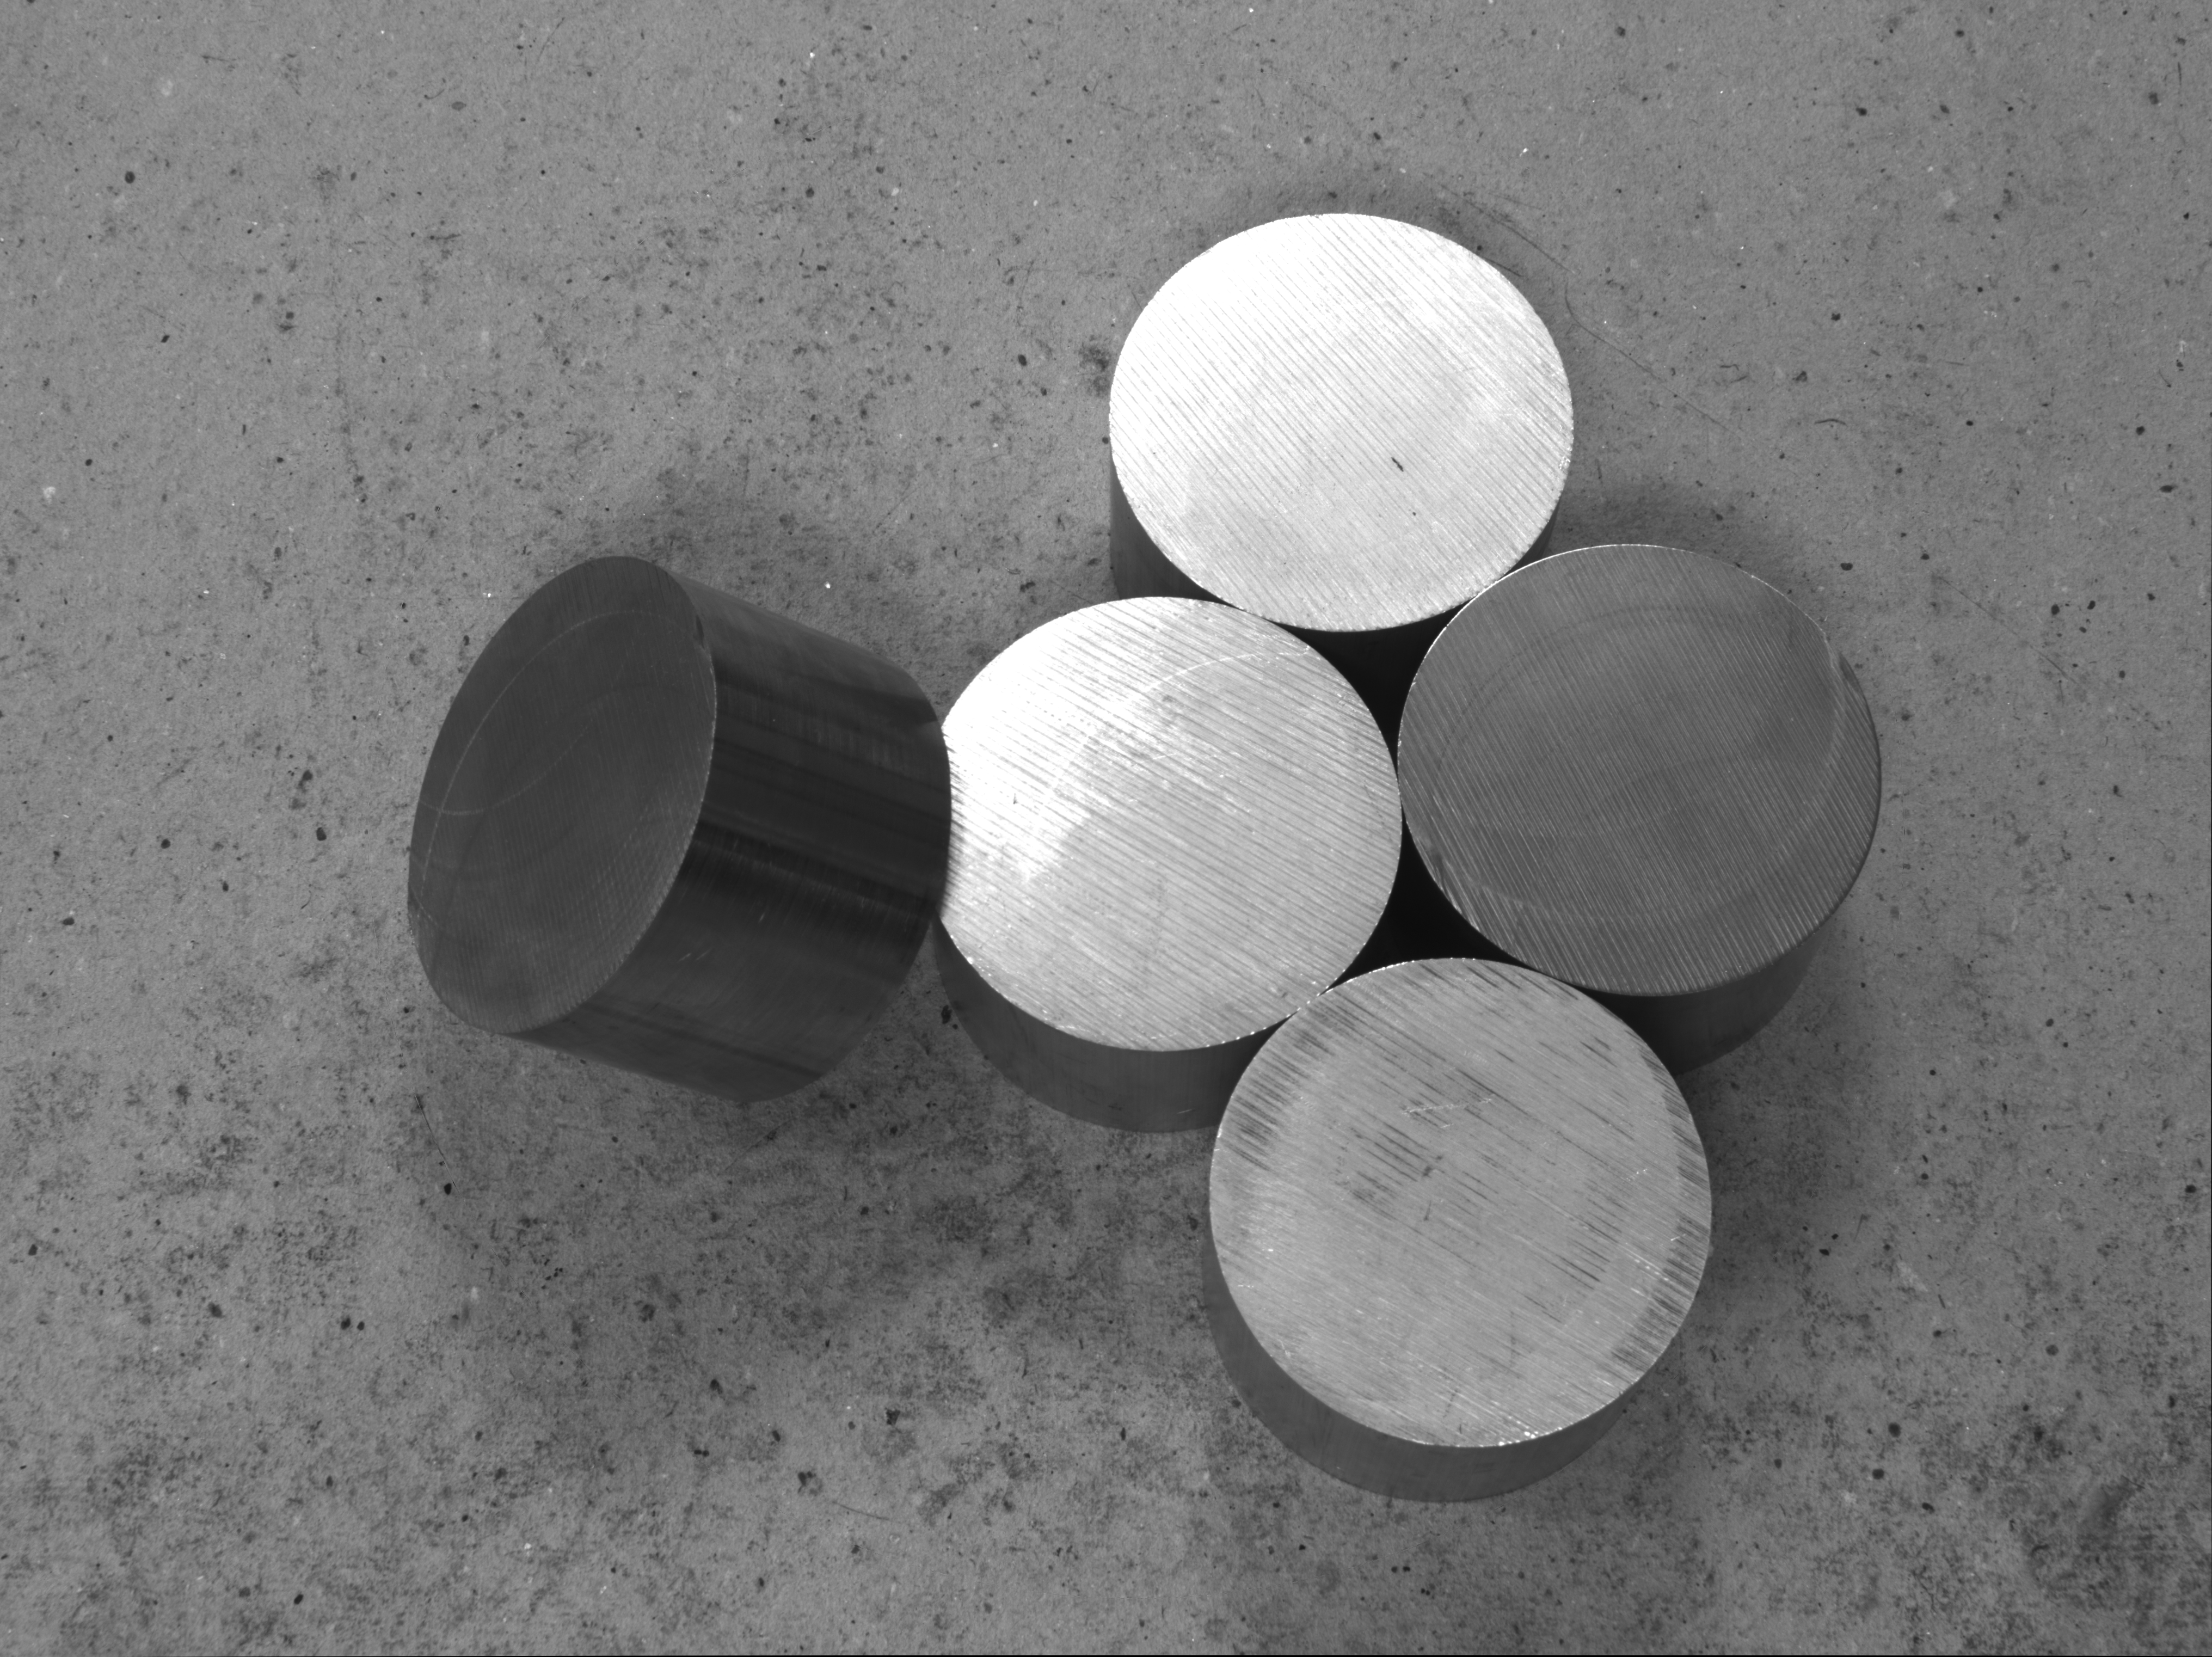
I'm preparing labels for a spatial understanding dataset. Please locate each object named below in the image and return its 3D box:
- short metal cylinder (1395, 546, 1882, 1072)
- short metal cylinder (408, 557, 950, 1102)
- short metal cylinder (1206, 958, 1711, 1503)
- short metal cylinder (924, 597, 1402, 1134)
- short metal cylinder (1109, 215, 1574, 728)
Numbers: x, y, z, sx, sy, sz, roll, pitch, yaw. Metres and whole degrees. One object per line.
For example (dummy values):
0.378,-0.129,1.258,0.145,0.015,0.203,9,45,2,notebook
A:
0.089,-0.002,0.632,0.080,0.050,0.080,0,70,0,short metal cylinder
-0.072,0.001,0.609,0.080,0.050,0.080,-20,60,41,short metal cylinder
0.056,0.067,0.607,0.080,0.050,0.080,0,70,0,short metal cylinder
0.009,0.007,0.629,0.080,0.050,0.080,0,70,0,short metal cylinder
0.041,-0.062,0.654,0.080,0.050,0.080,0,70,0,short metal cylinder
